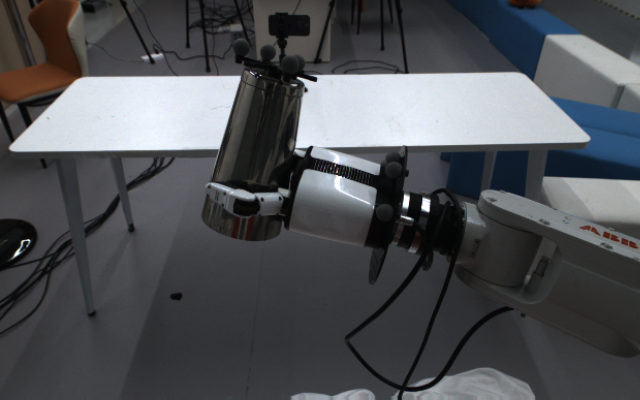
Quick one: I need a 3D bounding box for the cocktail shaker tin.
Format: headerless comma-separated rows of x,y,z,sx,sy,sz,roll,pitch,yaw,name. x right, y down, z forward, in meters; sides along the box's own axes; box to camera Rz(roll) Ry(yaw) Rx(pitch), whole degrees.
-0.068,-0.051,0.530,0.093,0.170,0.093,14,20,-5,cocktail shaker tin
